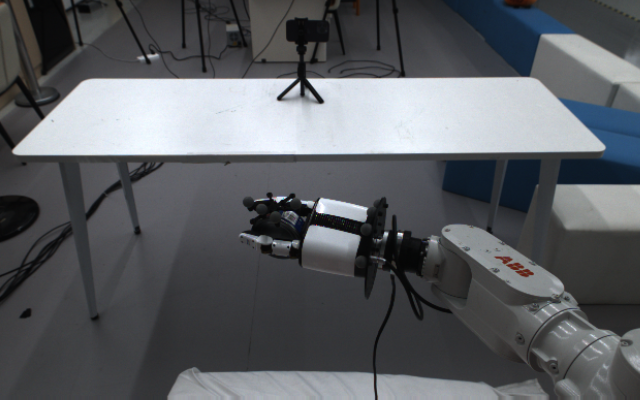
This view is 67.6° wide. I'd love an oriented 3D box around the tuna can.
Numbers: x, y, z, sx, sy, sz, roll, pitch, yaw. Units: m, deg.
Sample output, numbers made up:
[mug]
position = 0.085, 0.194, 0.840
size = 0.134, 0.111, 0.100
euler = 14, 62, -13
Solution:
[tuna can]
position = -0.062, 0.053, 0.771
size = 0.085, 0.085, 0.034
euler = 11, 38, 13
